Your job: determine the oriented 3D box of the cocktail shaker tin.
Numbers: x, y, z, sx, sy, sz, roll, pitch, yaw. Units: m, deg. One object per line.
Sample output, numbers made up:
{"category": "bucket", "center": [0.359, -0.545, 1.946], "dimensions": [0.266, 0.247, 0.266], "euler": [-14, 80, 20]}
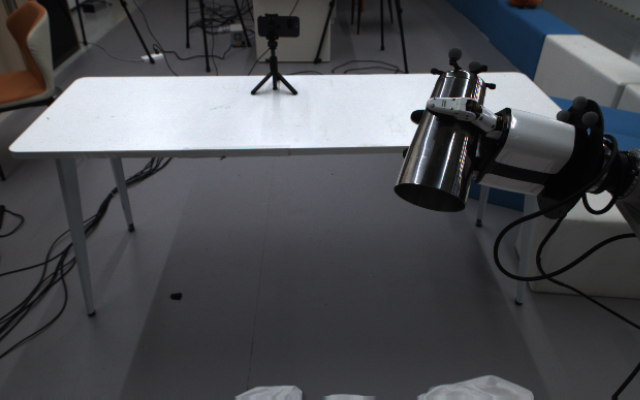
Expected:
{"category": "cocktail shaker tin", "center": [0.165, -0.080, 0.634], "dimensions": [0.093, 0.093, 0.170], "euler": [15, 75, 18]}
